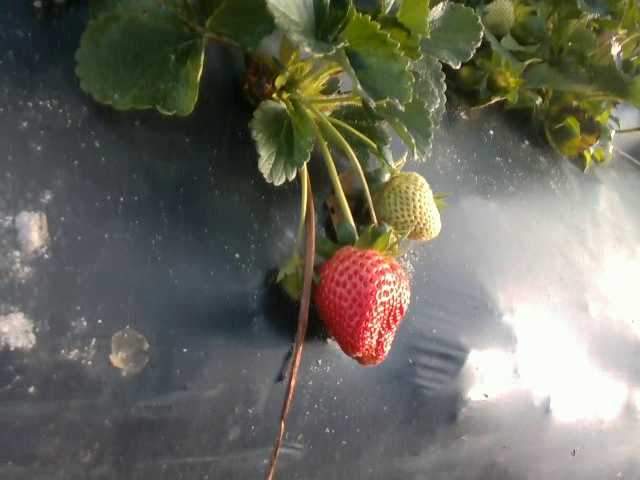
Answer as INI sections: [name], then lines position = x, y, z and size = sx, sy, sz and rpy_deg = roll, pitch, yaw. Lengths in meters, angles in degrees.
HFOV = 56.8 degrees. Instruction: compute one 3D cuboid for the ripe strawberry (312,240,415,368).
[ripe strawberry]
position = 0.024, 0.028, 0.240
size = 0.048, 0.050, 0.035
rpy_deg = 13, -14, -34
